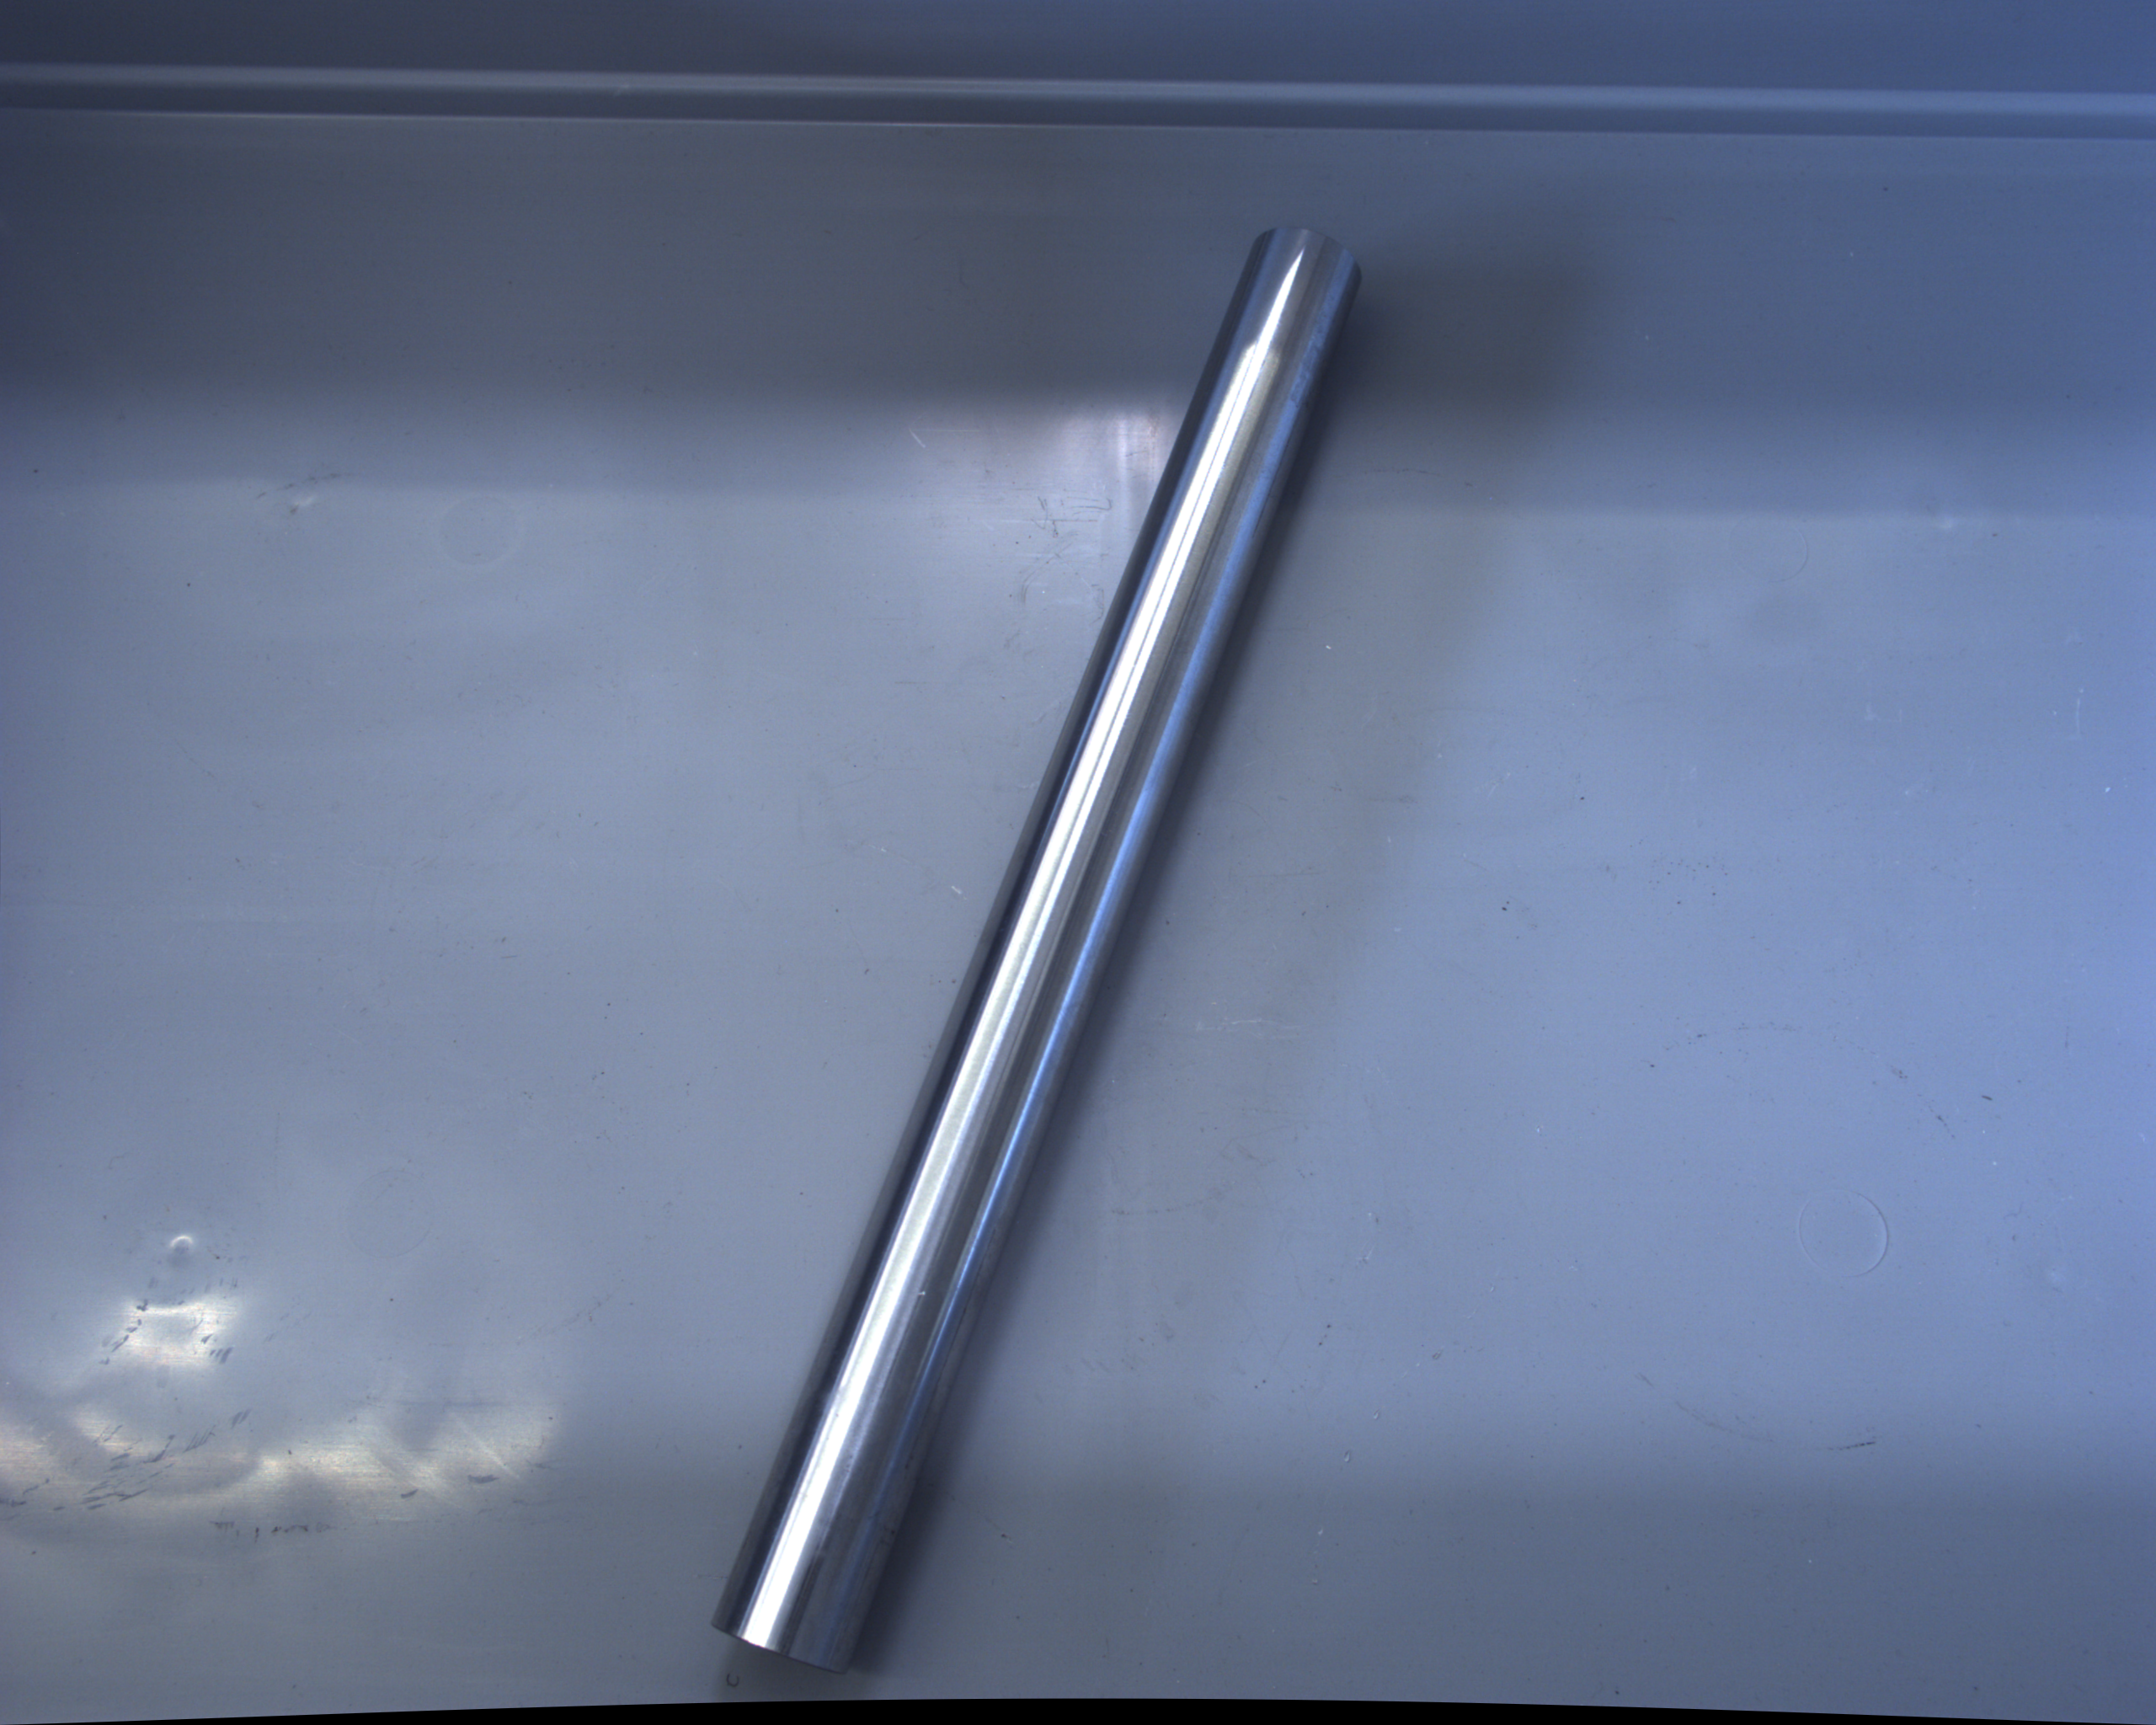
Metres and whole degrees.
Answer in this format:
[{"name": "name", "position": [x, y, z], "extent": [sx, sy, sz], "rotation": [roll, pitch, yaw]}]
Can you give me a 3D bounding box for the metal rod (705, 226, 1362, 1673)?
[{"name": "metal rod", "position": [-0.001, 0.002, 0.406], "extent": [0.025, 0.025, 0.300], "rotation": [19, 71, 7]}]
